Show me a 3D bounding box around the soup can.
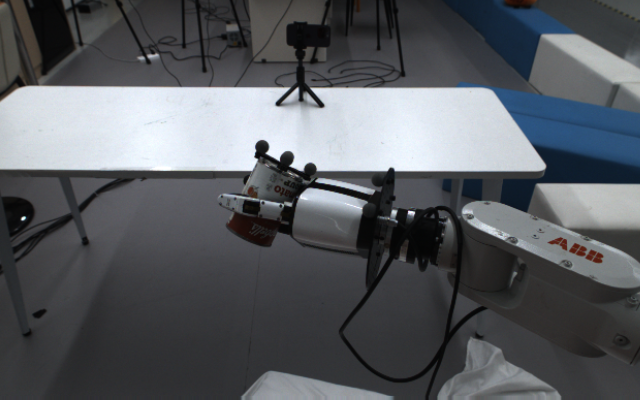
[{"bbox_3d":[-0.073,0.004,0.646,0.067,0.101,0.067,26,6,-3],"label":"soup can"}]
